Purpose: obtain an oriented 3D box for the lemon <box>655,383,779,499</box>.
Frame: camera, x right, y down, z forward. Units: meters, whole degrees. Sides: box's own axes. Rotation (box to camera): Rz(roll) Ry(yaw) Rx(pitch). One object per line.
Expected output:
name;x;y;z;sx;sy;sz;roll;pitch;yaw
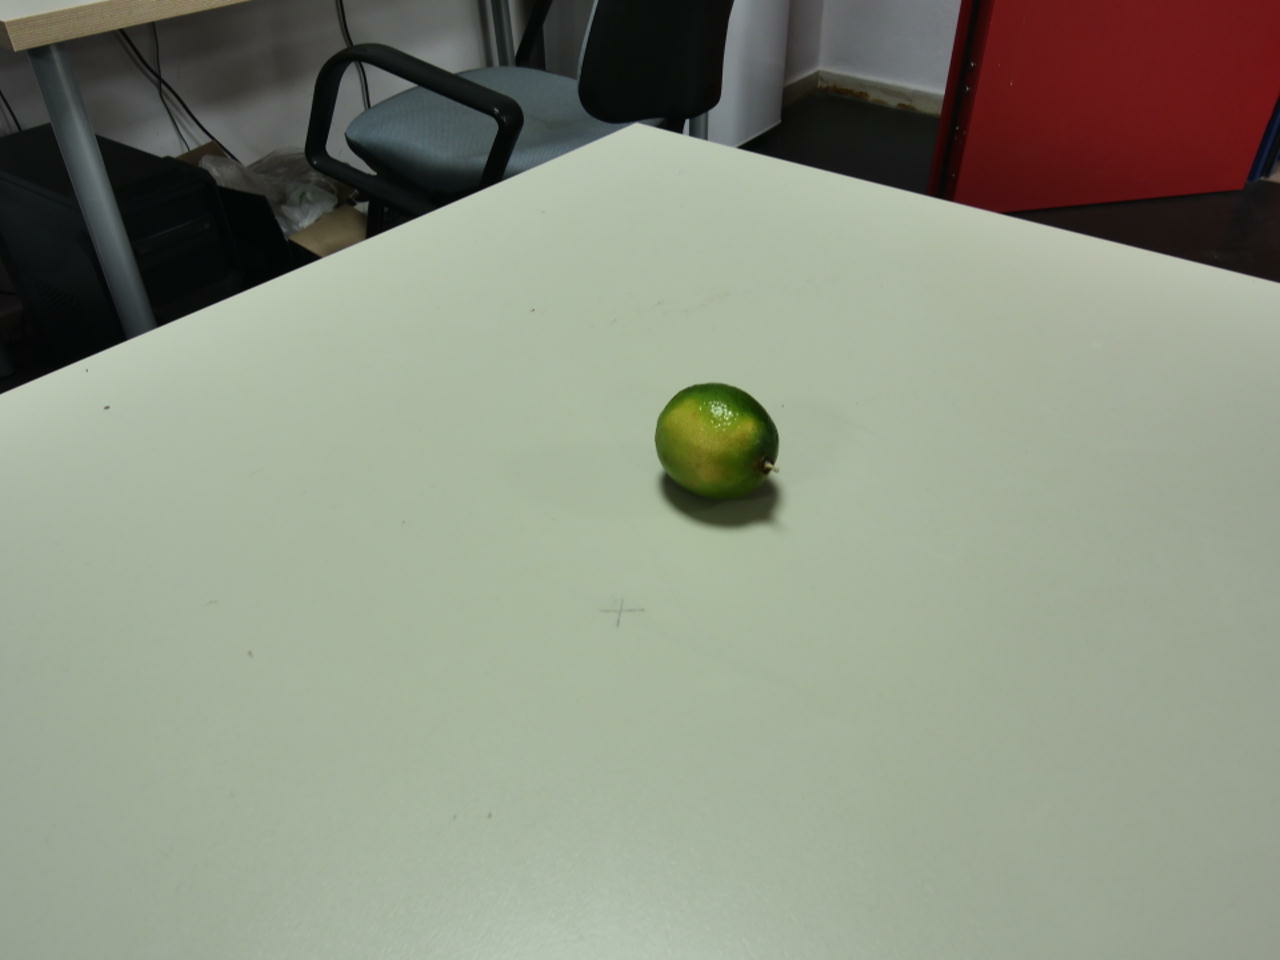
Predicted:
lemon;0.034;-0.018;0.449;0.054;0.050;0.055;1;36;0
